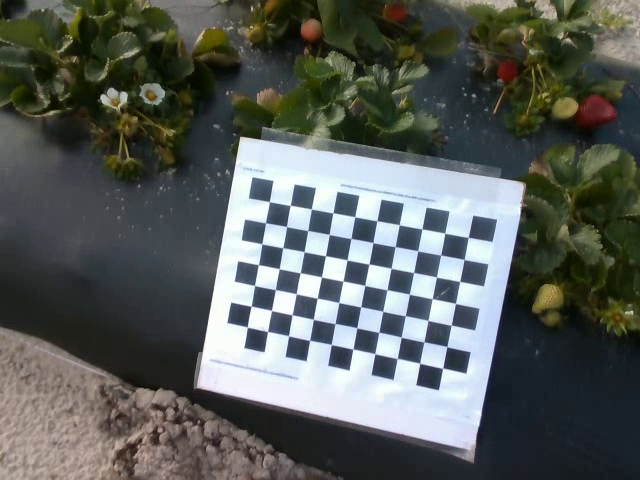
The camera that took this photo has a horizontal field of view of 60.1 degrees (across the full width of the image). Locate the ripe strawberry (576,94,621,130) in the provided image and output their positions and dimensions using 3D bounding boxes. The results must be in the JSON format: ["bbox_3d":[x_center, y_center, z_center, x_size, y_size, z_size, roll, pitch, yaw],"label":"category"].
[{"bbox_3d":[0.380,-0.185,0.771,0.048,0.051,0.055,40,8,-29],"label":"ripe strawberry"}]
